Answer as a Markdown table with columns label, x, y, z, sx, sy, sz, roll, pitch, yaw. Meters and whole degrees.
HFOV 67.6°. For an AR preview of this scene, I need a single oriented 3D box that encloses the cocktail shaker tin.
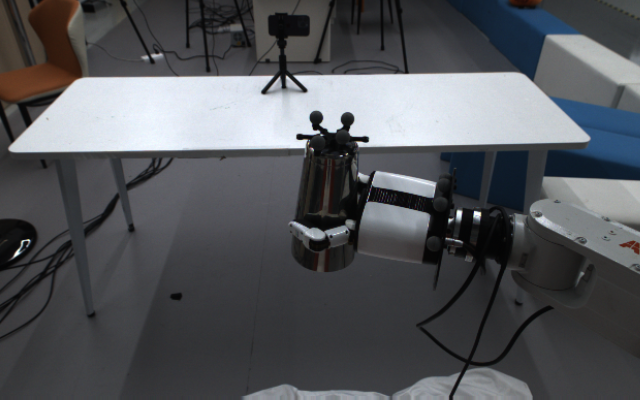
| label | x | y | z | sx | sy | sz | roll | pitch | yaw |
| --- | --- | --- | --- | --- | --- | --- | --- | --- | --- |
| cocktail shaker tin | 0.012 | 0.001 | 0.643 | 0.093 | 0.170 | 0.093 | 3 | 34 | -2 |
